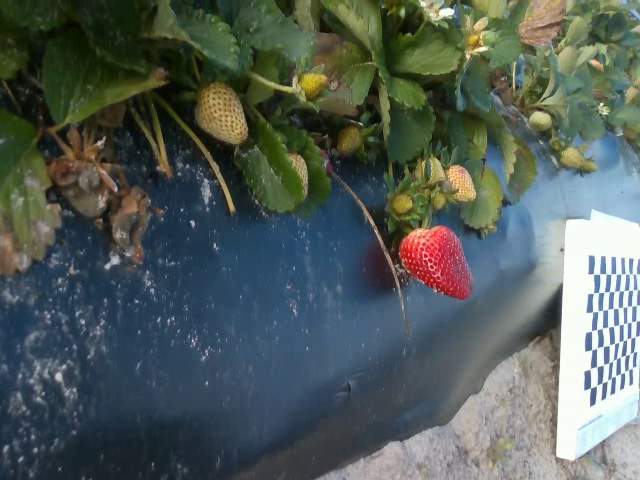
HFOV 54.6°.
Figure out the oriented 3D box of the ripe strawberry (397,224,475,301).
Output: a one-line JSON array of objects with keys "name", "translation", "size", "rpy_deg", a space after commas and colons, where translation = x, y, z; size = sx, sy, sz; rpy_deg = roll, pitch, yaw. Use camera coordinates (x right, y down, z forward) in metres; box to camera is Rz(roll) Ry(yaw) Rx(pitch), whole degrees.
[{"name": "ripe strawberry", "translation": [0.096, 0.018, 0.470], "size": [0.052, 0.068, 0.045], "rpy_deg": [-2, -40, -50]}]
